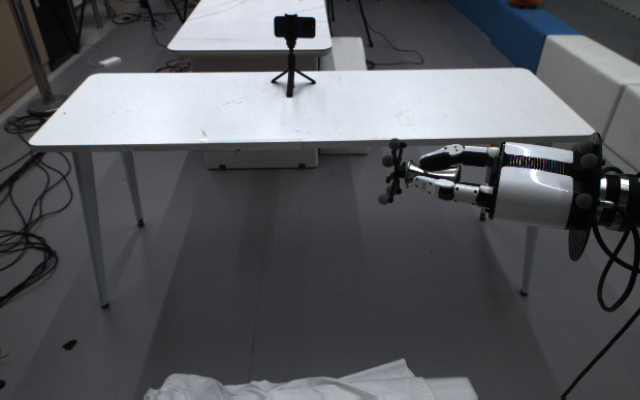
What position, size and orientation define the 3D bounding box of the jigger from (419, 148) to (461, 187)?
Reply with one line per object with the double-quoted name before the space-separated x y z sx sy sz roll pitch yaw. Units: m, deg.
"jigger" 0.160 -0.034 0.662 0.071 0.043 0.043 10 35 22
